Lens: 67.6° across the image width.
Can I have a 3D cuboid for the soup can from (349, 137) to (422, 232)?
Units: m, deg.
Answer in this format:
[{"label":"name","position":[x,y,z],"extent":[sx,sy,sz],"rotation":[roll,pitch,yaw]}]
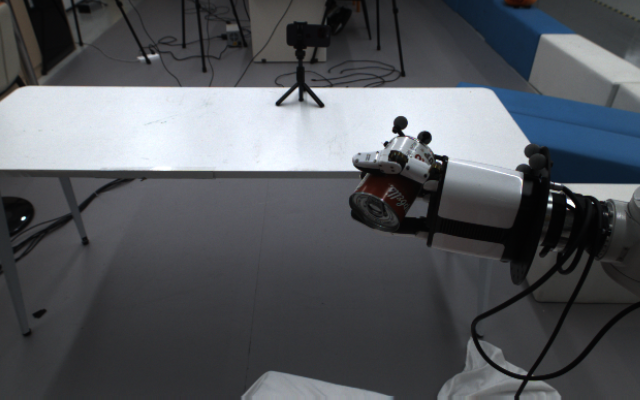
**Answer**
[{"label":"soup can","position":[0.091,-0.022,0.586],"extent":[0.067,0.067,0.101],"rotation":[22,61,26]}]
